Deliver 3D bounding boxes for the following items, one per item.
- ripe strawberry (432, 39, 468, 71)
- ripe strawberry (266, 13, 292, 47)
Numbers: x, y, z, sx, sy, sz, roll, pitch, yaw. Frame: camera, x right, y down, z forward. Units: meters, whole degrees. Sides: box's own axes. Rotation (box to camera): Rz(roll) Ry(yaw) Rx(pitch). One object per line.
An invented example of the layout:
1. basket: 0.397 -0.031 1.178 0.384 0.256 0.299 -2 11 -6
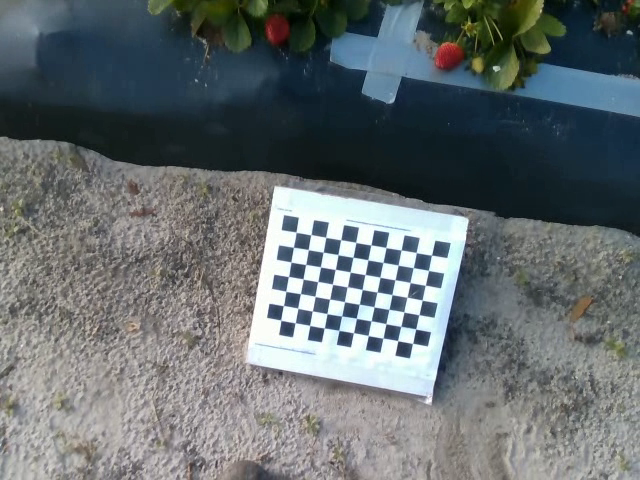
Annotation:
1. ripe strawberry: 0.085 -0.122 0.339 0.023 0.026 0.021 21 -33 25
2. ripe strawberry: -0.032 -0.141 0.339 0.018 0.023 0.021 2 -23 20
